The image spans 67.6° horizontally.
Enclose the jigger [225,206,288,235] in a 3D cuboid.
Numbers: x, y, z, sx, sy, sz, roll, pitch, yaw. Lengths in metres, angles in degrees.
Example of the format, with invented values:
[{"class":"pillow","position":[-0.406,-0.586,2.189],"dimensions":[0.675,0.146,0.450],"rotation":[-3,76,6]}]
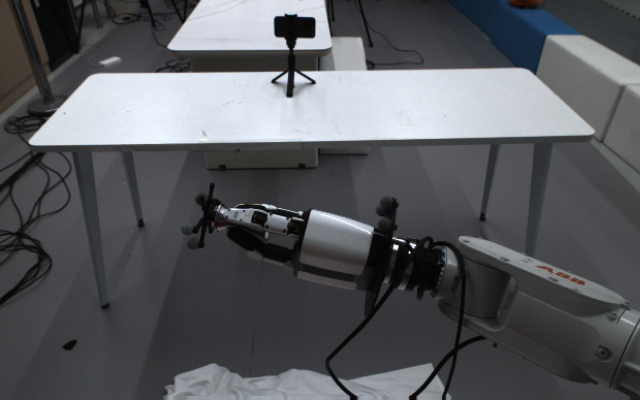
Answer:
[{"class":"jigger","position":[-0.094,0.026,0.641],"dimensions":[0.071,0.043,0.043],"rotation":[11,35,3]}]
